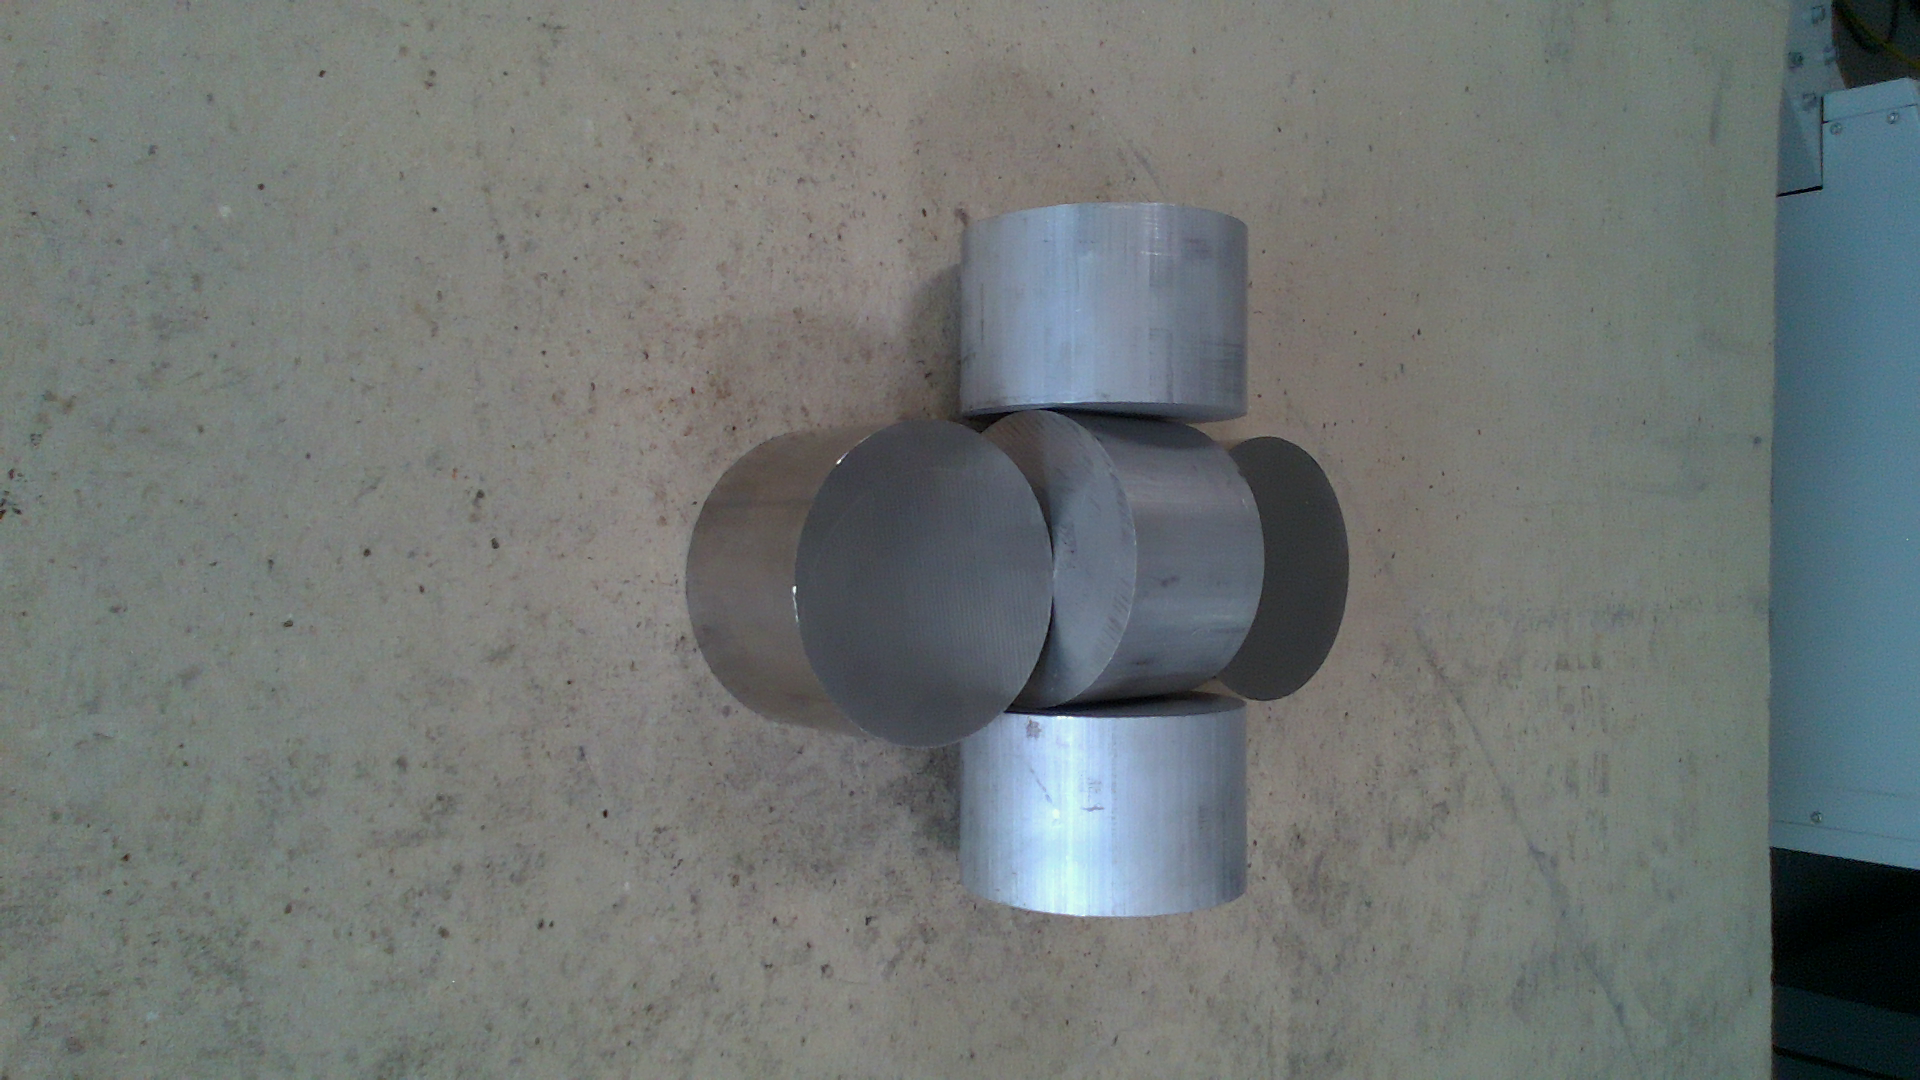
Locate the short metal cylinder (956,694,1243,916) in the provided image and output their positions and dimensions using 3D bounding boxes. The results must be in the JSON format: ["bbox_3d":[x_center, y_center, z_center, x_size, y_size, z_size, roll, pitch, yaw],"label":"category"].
[{"bbox_3d":[0.039,0.070,0.387,0.080,0.080,0.050,0,90,-40],"label":"short metal cylinder"}]

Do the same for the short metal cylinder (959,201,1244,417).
[{"bbox_3d":[0.040,-0.060,0.387,0.080,0.080,0.050,0,90,-40],"label":"short metal cylinder"}]

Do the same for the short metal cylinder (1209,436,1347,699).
[{"bbox_3d":[0.078,0.008,0.437,0.080,0.050,0.080,0,91,-40],"label":"short metal cylinder"}]

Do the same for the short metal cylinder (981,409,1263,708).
[{"bbox_3d":[0.037,0.005,0.385,0.050,0.080,0.080,1,90,-40],"label":"short metal cylinder"}]

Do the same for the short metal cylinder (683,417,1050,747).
[{"bbox_3d":[-0.023,0.010,0.354,0.080,0.050,0.080,0,90,-41],"label":"short metal cylinder"}]
